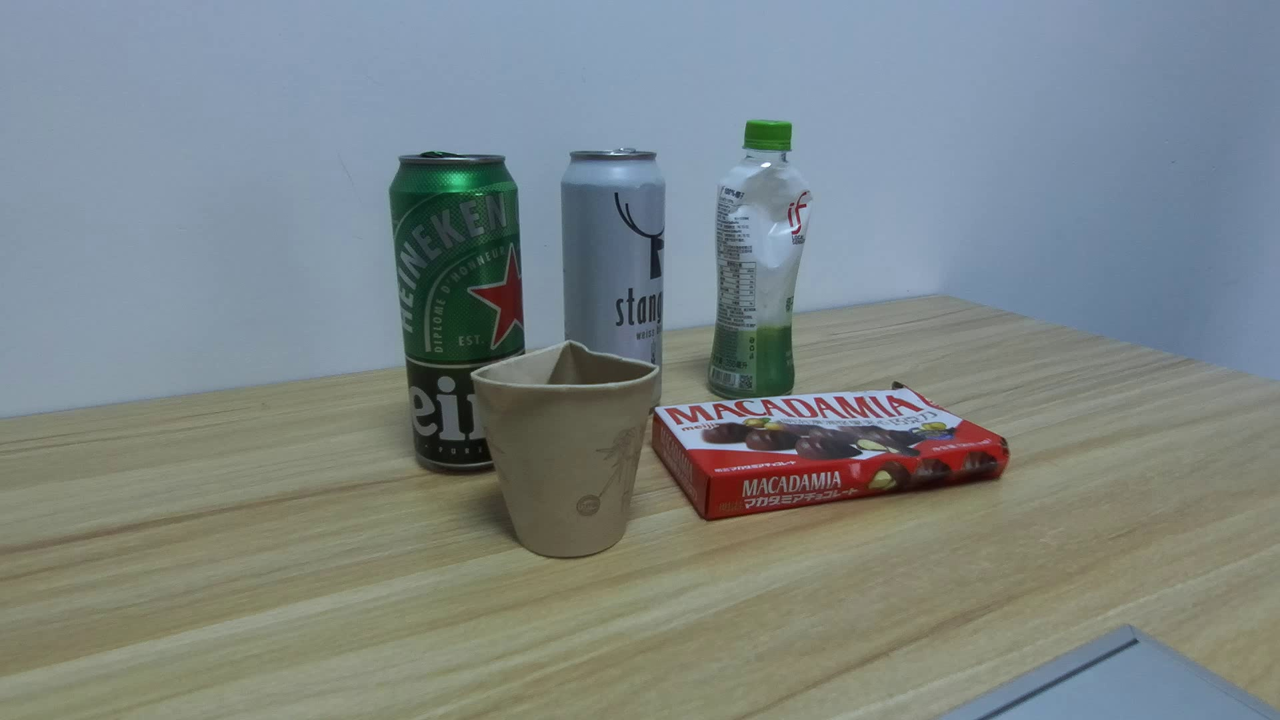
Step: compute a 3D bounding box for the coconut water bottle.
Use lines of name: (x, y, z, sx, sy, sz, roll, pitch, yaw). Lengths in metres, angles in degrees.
coconut water bottle: (0.083, -0.068, 0.490, 0.069, 0.187, 0.069, 2, 17, 0)

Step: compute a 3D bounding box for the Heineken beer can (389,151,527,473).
Heineken beer can: (-0.098, -0.026, 0.394, 0.067, 0.169, 0.067, 1, 18, 0)

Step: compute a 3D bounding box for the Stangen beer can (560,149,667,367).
Stangen beer can: (-0.016, -0.050, 0.467, 0.067, 0.171, 0.067, 1, 17, 0)

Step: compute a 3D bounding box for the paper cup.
paper cup: (-0.033, 0.042, 0.326, 0.071, 0.084, 0.066, 14, 22, 39)

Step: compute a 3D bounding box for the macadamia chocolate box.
macadamia chocolate box: (0.106, 0.047, 0.406, 0.183, 0.028, 0.105, -4, 19, -17)
